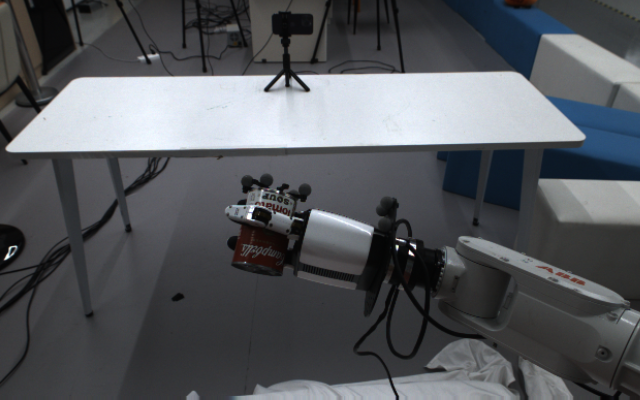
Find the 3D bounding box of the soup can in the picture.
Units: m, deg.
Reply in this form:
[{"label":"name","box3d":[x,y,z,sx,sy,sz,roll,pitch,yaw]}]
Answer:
[{"label":"soup can","box3d":[-0.071,0.043,0.629,0.067,0.067,0.101,8,72,9]}]
